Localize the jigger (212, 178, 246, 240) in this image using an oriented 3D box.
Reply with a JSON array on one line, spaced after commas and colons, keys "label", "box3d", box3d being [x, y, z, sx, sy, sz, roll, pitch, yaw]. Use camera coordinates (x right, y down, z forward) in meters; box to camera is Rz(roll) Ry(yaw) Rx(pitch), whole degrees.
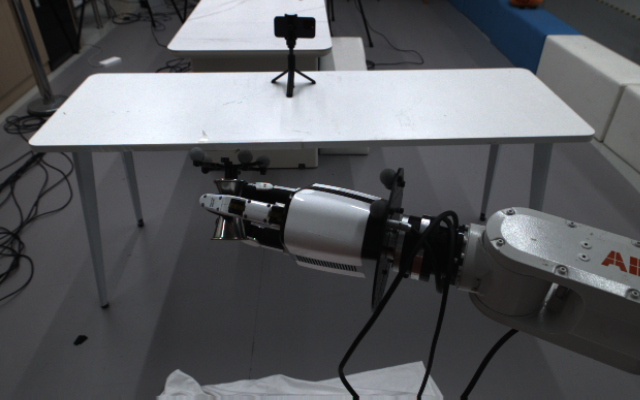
[{"label": "jigger", "box3d": [-0.106, 0.011, 0.559, 0.043, 0.071, 0.043, 0, -5, 0]}]
